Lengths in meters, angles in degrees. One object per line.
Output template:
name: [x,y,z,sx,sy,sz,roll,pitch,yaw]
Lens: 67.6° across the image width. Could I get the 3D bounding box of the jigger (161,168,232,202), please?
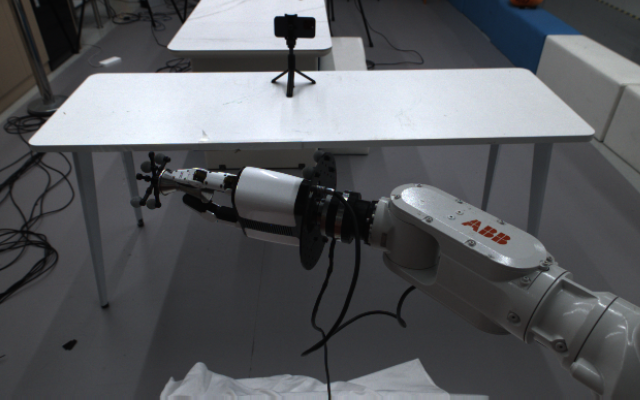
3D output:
jigger: [-0.186,-0.024,0.695,0.071,0.043,0.043,8,35,13]
